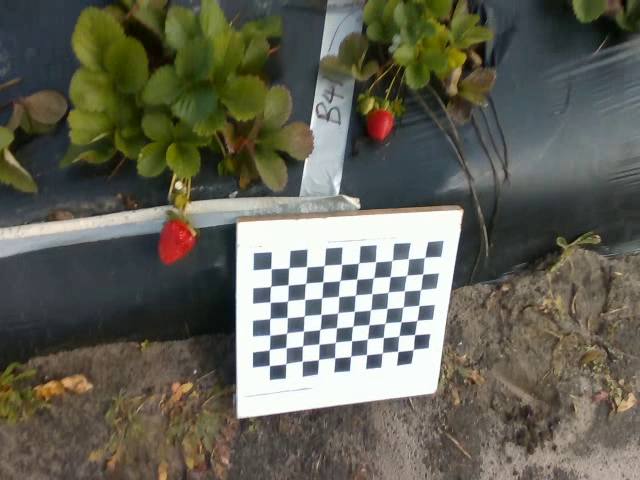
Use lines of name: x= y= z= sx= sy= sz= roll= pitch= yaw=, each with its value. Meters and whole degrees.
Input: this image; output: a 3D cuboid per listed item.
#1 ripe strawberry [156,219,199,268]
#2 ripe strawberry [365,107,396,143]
ripe strawberry: x=-0.139 y=0.006 z=1.341 sx=0.047 sy=0.053 sz=0.030 roll=37 pitch=-18 yaw=-33
ripe strawberry: x=0.077 y=-0.129 z=1.419 sx=0.037 sy=0.048 sz=0.031 roll=10 pitch=-34 yaw=-25
